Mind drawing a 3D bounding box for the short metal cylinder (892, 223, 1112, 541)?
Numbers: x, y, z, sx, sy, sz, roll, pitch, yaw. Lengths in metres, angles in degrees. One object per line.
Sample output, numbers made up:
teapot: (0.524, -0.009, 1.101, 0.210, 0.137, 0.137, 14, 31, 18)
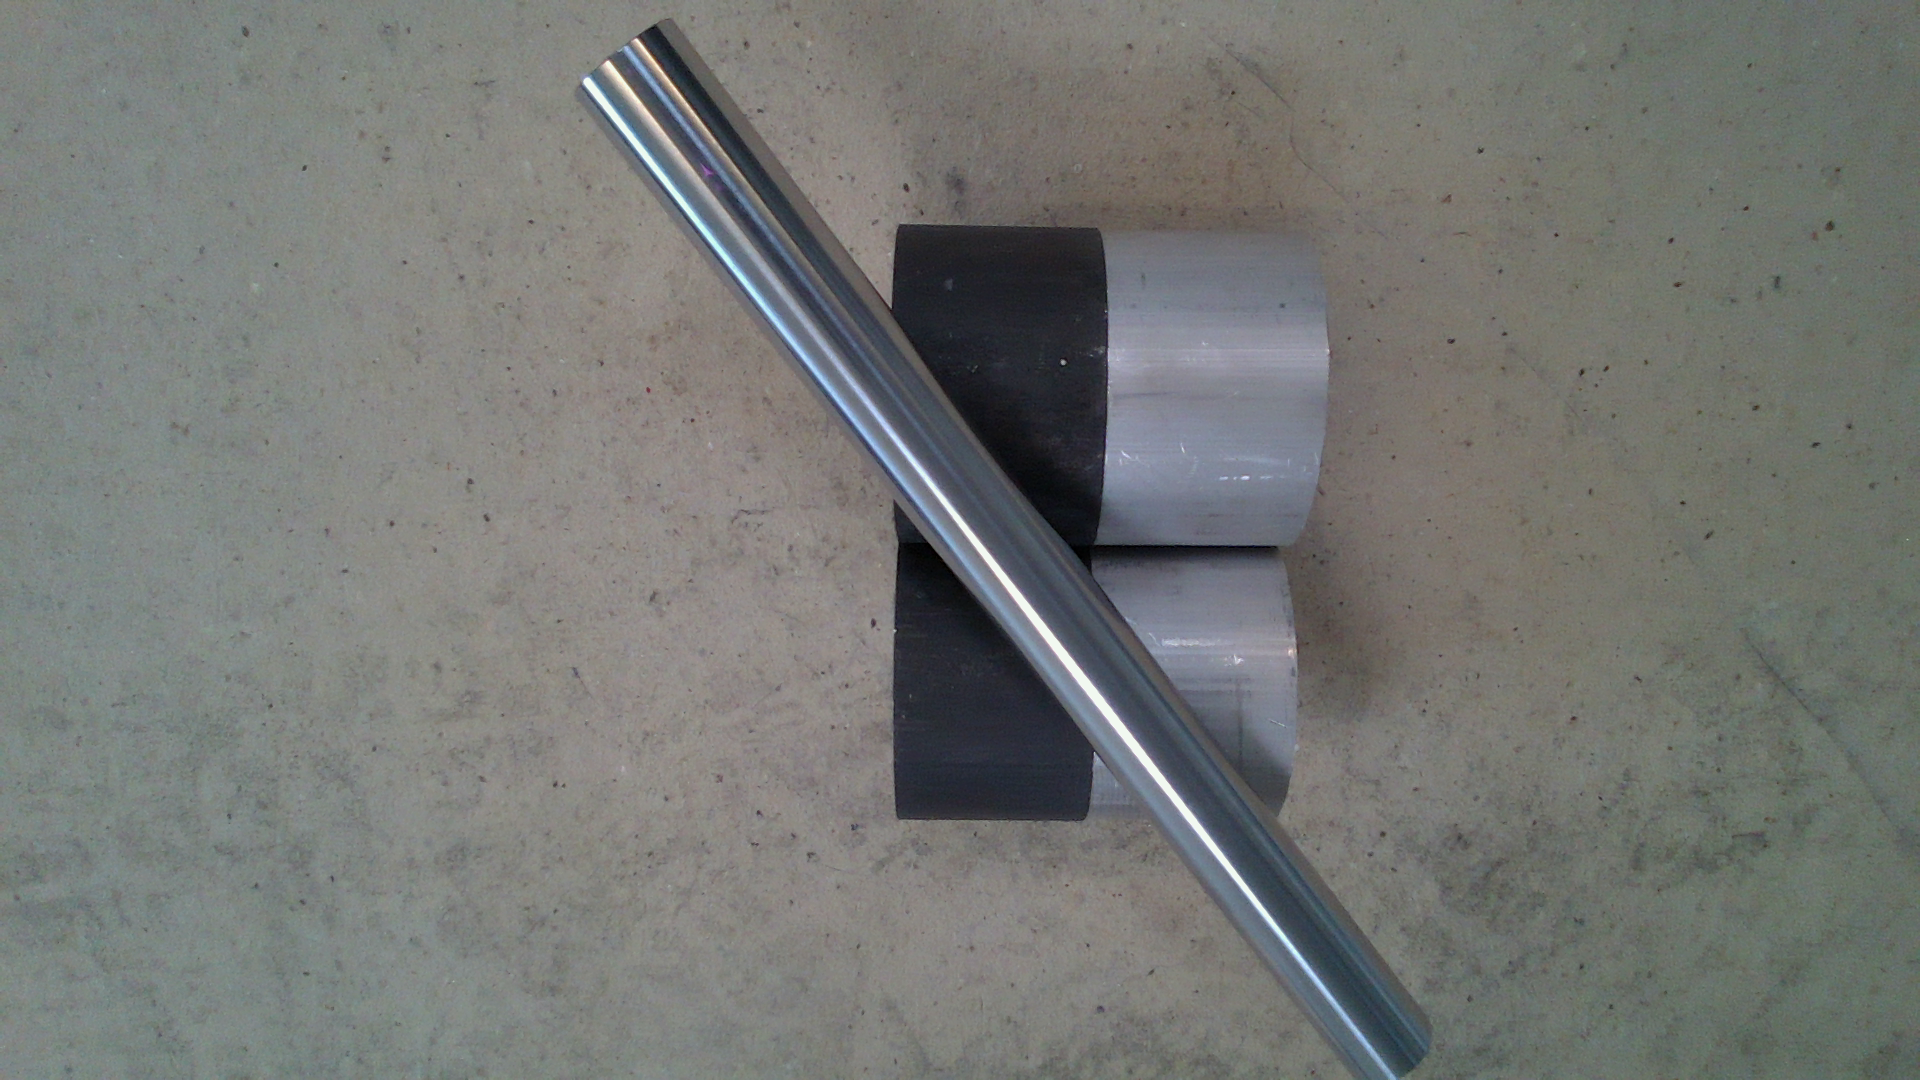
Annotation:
short metal cylinder: (0.009, -0.039, 0.350, 0.050, 0.080, 0.080, 1, 110, 0)

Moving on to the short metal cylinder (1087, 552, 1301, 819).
short metal cylinder: (0.059, 0.036, 0.379, 0.050, 0.080, 0.080, 1, 110, 0)

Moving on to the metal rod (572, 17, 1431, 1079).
metal rod: (0.022, 0.018, 0.315, 0.025, 0.025, 0.300, -35, 107, 12)

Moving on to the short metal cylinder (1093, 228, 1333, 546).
short metal cylinder: (0.059, -0.038, 0.351, 0.050, 0.080, 0.080, 1, 110, 0)

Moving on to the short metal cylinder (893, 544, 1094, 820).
short metal cylinder: (0.008, 0.037, 0.378, 0.050, 0.080, 0.080, 1, 110, 0)
